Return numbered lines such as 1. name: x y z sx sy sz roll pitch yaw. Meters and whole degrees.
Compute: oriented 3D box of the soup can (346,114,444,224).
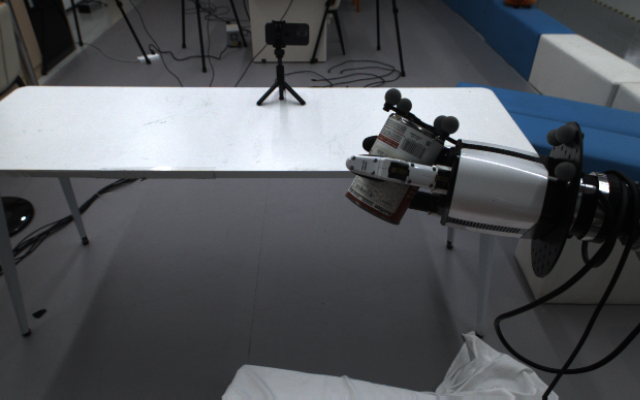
1. soup can: 0.082 -0.034 0.526 0.067 0.101 0.067 28 10 -5
